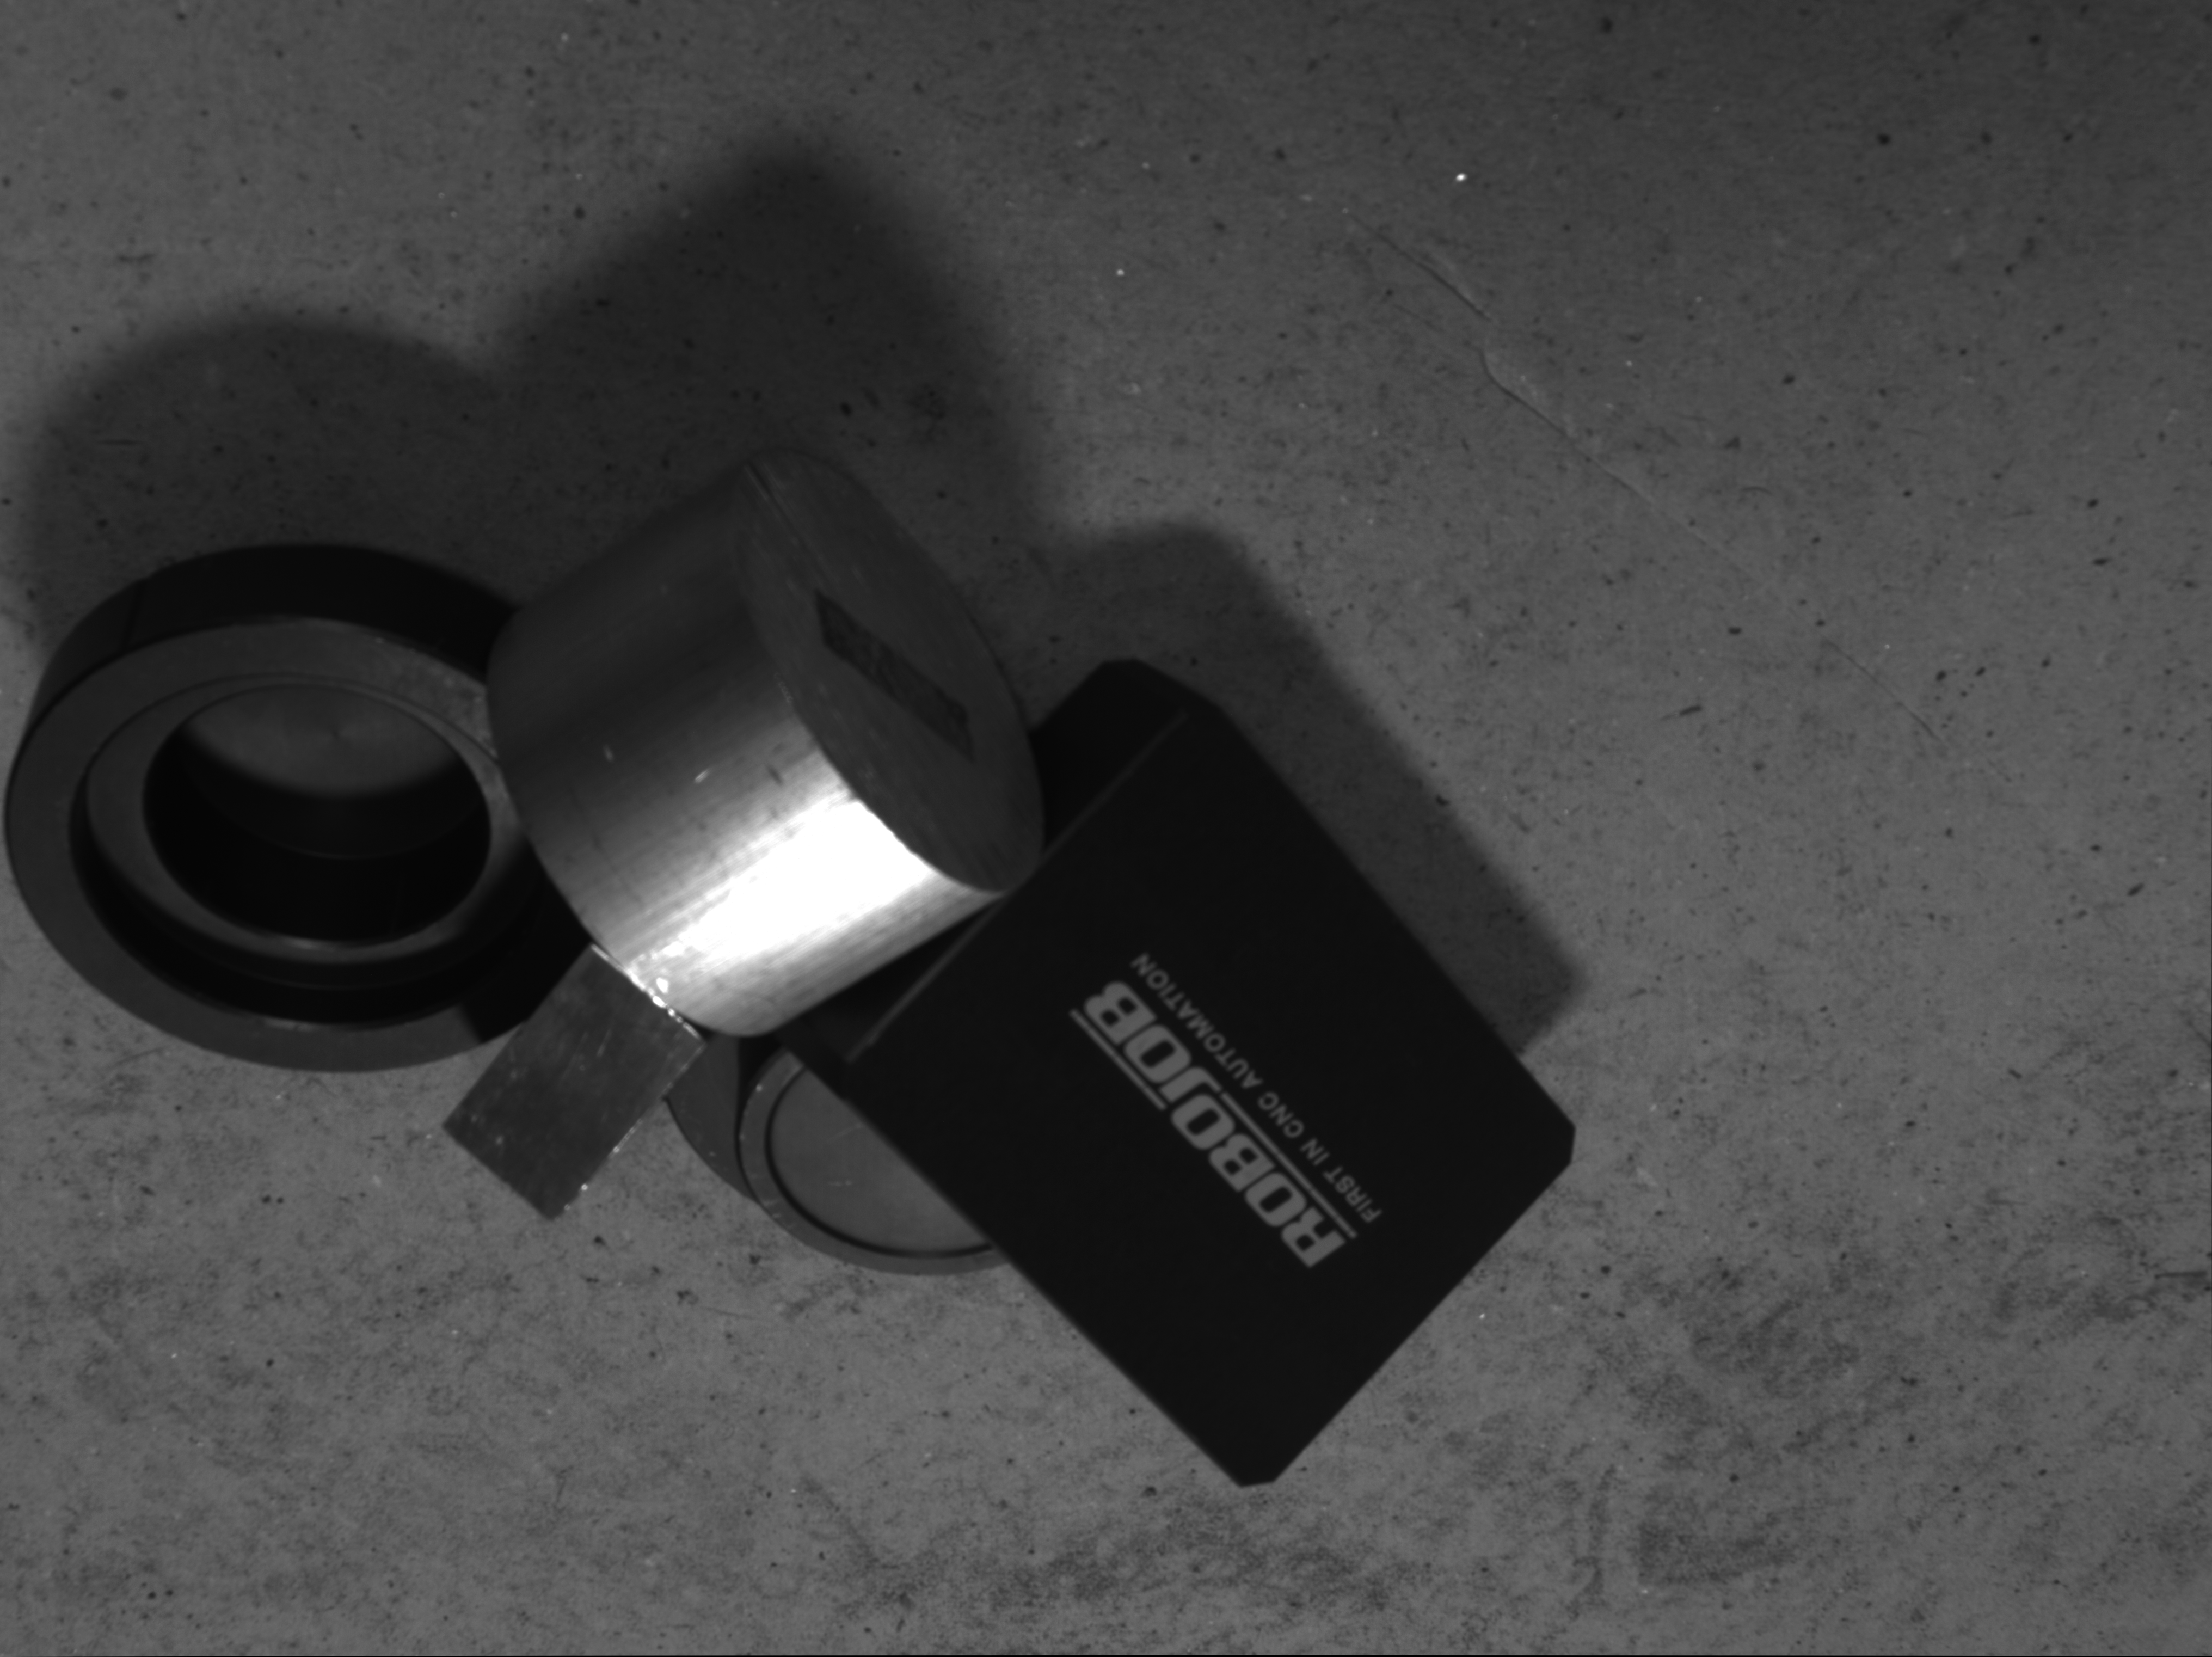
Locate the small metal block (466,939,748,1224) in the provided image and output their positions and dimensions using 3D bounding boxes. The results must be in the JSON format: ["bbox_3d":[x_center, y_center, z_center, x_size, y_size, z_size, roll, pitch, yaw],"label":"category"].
[{"bbox_3d":[-0.076,0.032,0.623,0.025,0.050,0.050,41,121,-1],"label":"small metal block"}]

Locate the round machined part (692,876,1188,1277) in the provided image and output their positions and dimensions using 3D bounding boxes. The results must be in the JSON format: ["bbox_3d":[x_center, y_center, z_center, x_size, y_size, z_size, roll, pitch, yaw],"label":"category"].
[{"bbox_3d":[-0.028,0.043,0.662,0.098,0.042,0.098,-1,130,-1],"label":"round machined part"}]

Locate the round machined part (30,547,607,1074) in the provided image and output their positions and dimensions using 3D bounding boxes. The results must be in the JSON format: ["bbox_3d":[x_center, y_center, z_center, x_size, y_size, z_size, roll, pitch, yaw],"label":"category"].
[{"bbox_3d":[-0.127,-0.008,0.616,0.098,0.042,0.098,-1,130,-1],"label":"round machined part"}]

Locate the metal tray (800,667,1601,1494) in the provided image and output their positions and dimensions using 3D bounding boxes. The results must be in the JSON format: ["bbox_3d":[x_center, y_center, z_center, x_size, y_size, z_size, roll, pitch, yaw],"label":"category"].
[{"bbox_3d":[0.020,0.046,0.646,0.090,0.030,0.130,-46,123,-6],"label":"metal tray"}]

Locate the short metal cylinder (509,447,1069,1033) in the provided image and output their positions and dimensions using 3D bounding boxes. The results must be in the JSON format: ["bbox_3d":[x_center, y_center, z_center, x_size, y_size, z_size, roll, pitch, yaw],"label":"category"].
[{"bbox_3d":[-0.050,-0.014,0.590,0.050,0.080,0.080,-30,125,22],"label":"short metal cylinder"}]
